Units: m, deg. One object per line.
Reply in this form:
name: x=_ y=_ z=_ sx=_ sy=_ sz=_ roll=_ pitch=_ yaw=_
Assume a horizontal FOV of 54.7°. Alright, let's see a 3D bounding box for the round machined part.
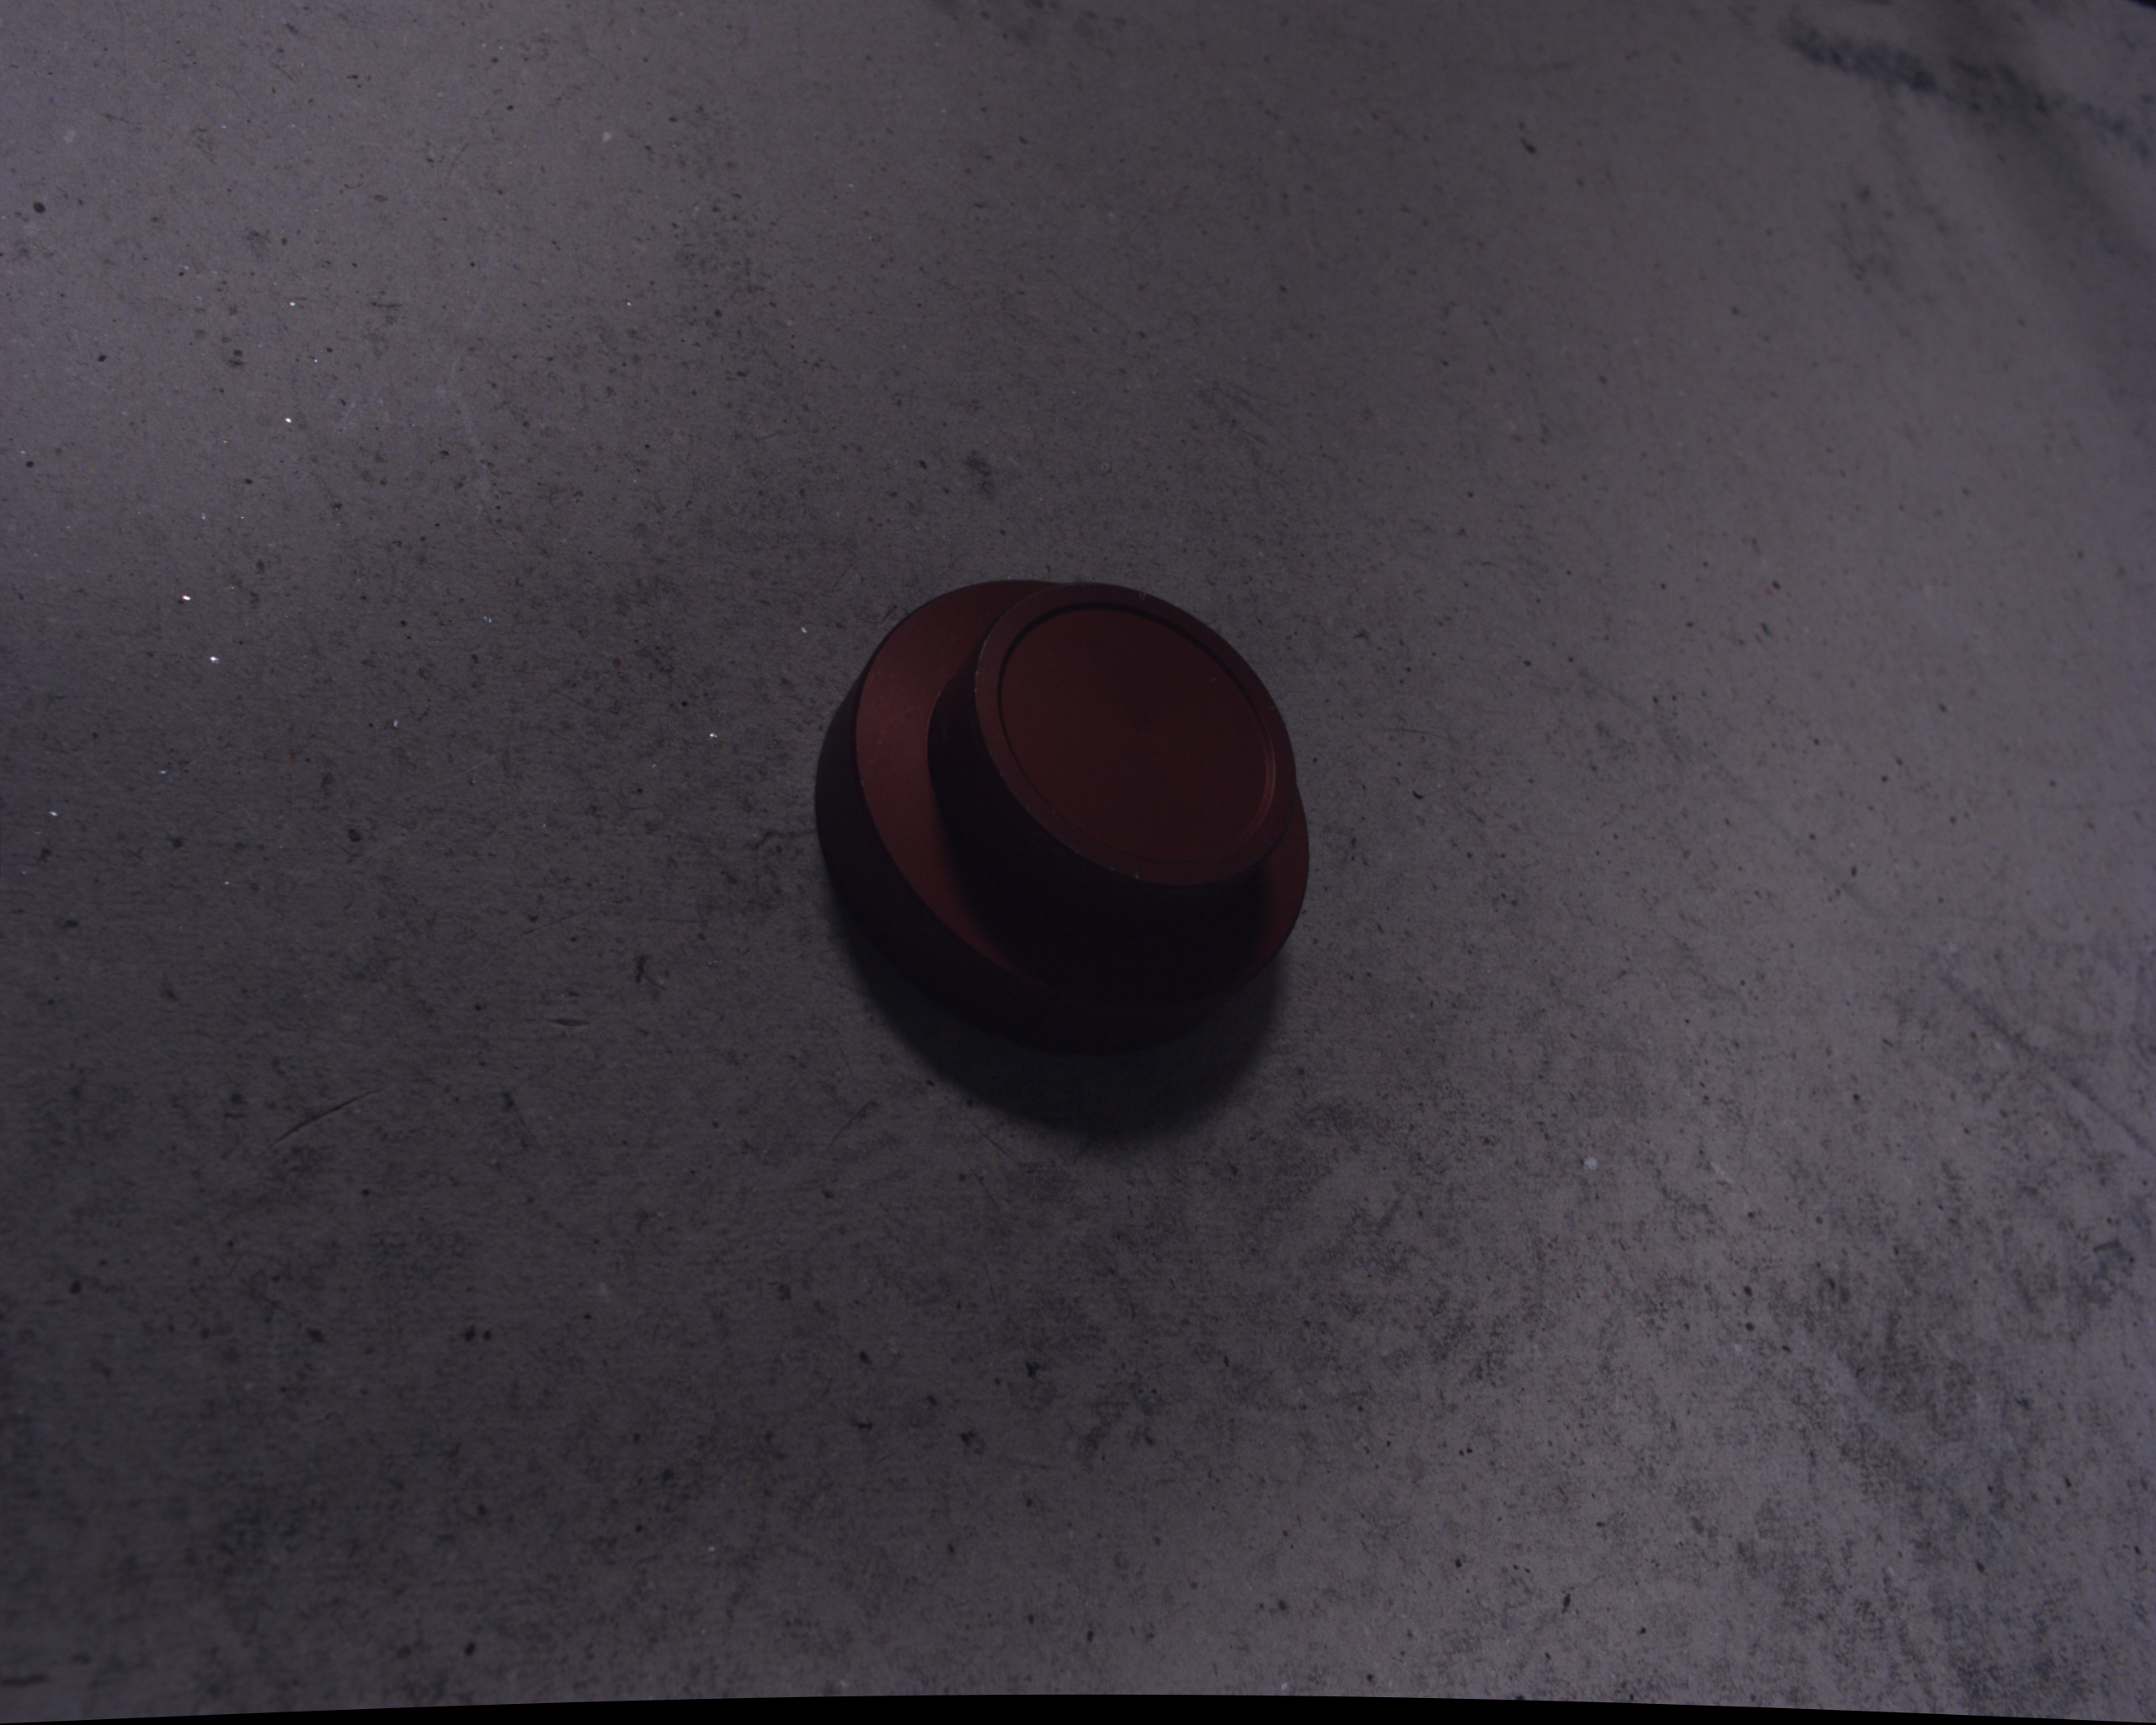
round machined part: x=0.003 y=-0.015 z=0.406 sx=0.099 sy=0.042 sz=0.098 roll=14 pitch=56 yaw=-21
